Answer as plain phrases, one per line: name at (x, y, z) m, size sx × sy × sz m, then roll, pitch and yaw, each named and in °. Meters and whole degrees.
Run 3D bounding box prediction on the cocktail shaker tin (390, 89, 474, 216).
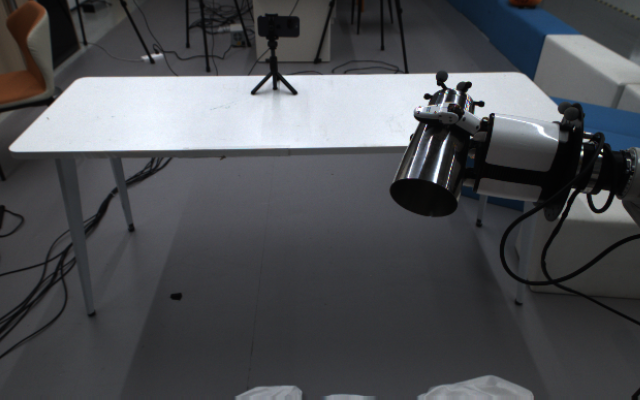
cocktail shaker tin at (0.166, -0.073, 0.677) m, size 0.093 × 0.093 × 0.170 m, roll 15°, pitch 63°, yaw 17°
